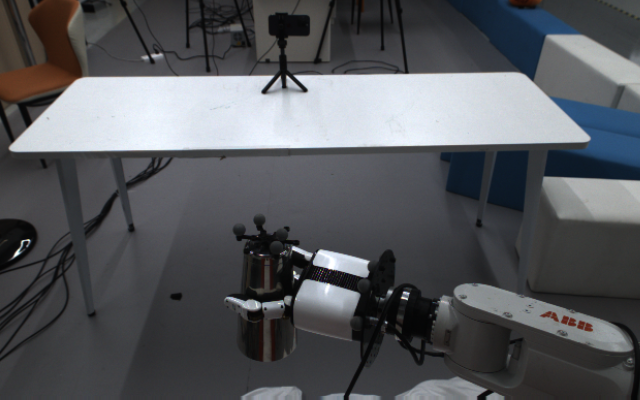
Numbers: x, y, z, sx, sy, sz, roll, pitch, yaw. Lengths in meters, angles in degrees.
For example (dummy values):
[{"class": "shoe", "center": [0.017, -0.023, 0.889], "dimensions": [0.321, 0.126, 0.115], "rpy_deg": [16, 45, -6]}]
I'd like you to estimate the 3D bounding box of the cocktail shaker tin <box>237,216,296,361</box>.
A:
[{"class": "cocktail shaker tin", "center": [-0.075, 0.138, 0.703], "dimensions": [0.093, 0.170, 0.093], "rpy_deg": [2, 25, -1]}]
